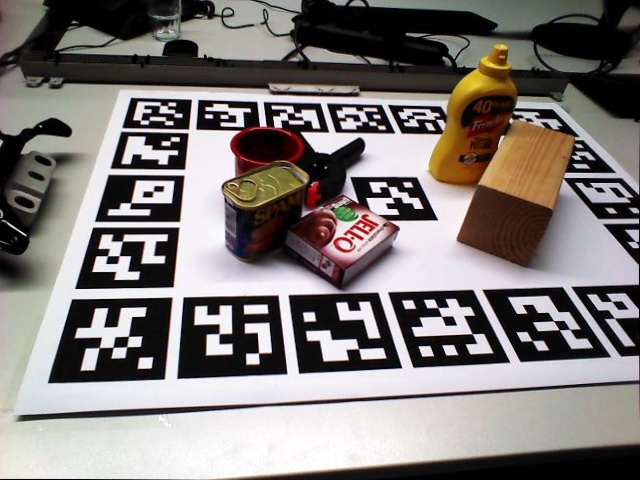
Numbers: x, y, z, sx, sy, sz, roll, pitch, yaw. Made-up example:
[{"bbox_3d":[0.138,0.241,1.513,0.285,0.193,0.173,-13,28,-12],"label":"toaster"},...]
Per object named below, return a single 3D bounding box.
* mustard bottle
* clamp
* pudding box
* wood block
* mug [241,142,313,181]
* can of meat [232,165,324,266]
[{"bbox_3d":[0.243,-0.166,0.711,0.096,0.192,0.058,-4,44,-12],"label":"mustard bottle"},{"bbox_3d":[0.023,-0.102,0.734,0.122,0.037,0.164,13,44,5],"label":"clamp"},{"bbox_3d":[0.048,0.007,0.607,0.090,0.039,0.113,35,47,27],"label":"pudding box"},{"bbox_3d":[0.291,-0.056,0.678,0.090,0.091,0.204,24,42,20],"label":"wood block"},{"bbox_3d":[-0.053,-0.078,0.690,0.093,0.082,0.116,15,44,8],"label":"mug"},{"bbox_3d":[-0.048,-0.027,0.590,0.101,0.084,0.058,-24,51,-30],"label":"can of meat"}]
